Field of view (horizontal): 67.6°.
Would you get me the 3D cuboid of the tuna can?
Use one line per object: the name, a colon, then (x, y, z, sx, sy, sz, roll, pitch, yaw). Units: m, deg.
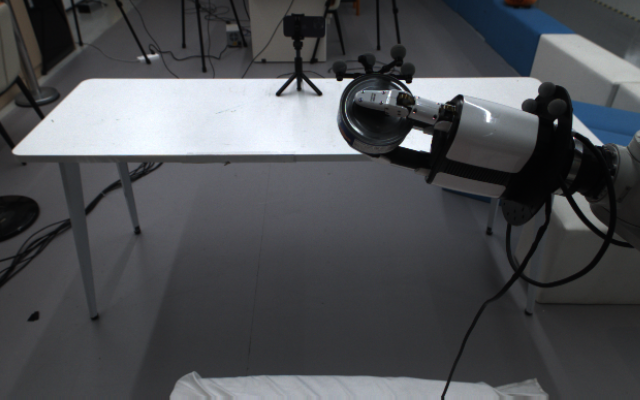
tuna can: (0.064, -0.098, 0.545, 0.085, 0.034, 0.085, 1, 72, -4)
